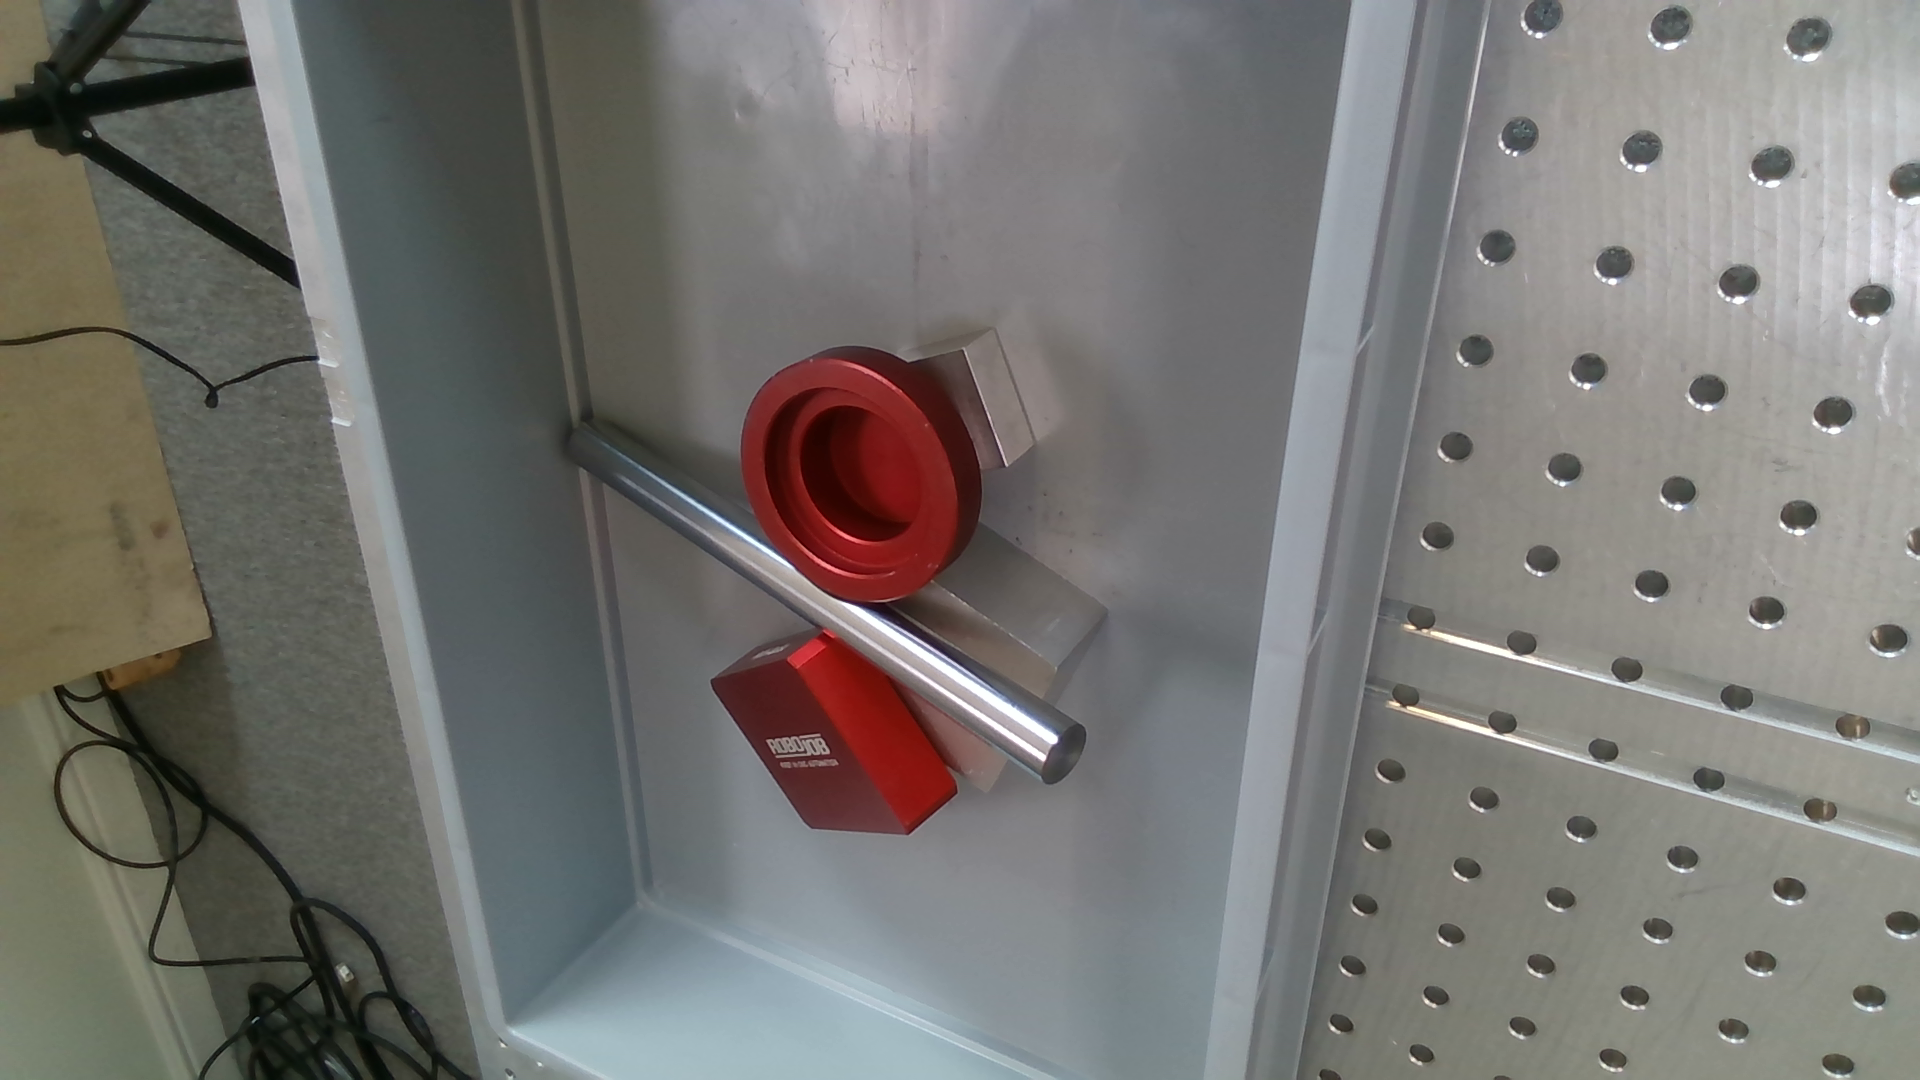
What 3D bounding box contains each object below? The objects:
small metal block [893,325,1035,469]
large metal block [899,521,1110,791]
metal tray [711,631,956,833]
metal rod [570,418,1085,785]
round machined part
[{"bbox_3d":[-0.004,-0.054,0.553,0.050,0.025,0.050,-9,110,35],"label":"small metal block"},{"bbox_3d":[0.005,0.045,0.585,0.080,0.050,0.080,34,128,12],"label":"large metal block"},{"bbox_3d":[-0.062,0.087,0.629,0.090,0.030,0.130,57,154,-6],"label":"metal tray"},{"bbox_3d":[-0.070,0.015,0.578,0.299,0.025,0.025,30,129,34],"label":"metal rod"},{"bbox_3d":[-0.035,-0.029,0.538,0.098,0.042,0.098,13,118,26],"label":"round machined part"}]
